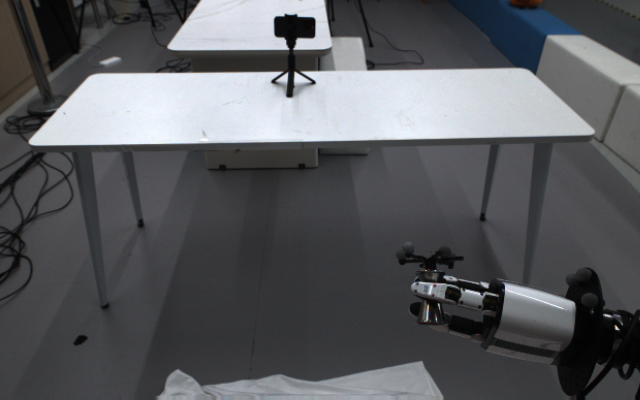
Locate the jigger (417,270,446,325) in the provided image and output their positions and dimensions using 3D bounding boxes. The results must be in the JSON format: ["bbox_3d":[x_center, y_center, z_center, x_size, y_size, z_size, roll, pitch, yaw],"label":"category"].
[{"bbox_3d":[0.147,0.129,0.644,0.043,0.043,0.071,3,72,2],"label":"jigger"}]
